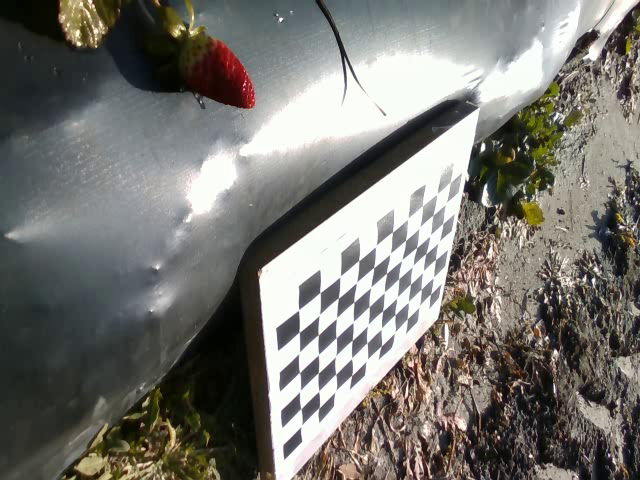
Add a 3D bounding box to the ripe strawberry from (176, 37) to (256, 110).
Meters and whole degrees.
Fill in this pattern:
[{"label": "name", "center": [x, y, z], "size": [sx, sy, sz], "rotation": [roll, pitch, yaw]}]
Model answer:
[{"label": "ripe strawberry", "center": [-0.038, -0.067, 0.260], "size": [0.041, 0.028, 0.031], "rotation": [39, -15, -3]}]
